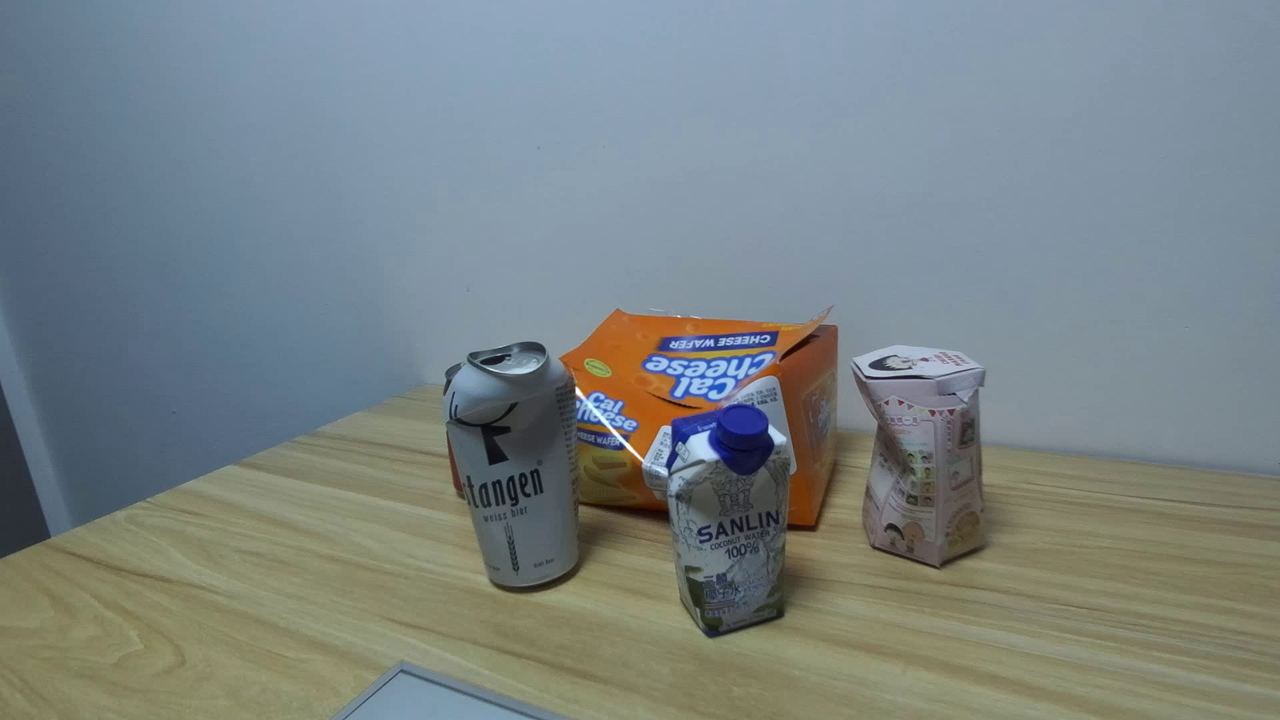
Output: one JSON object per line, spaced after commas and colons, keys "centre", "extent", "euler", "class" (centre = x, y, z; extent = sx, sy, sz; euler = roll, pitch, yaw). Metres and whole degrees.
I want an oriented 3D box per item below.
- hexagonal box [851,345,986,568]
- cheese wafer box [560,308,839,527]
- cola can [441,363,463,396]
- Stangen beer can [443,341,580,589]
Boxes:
{"centre": [0.194, 0.065, 0.497], "extent": [0.091, 0.089, 0.134], "euler": [-19, -72, -42], "class": "hexagonal box"}
{"centre": [0.047, 0.040, 0.598], "extent": [0.192, 0.218, 0.145], "euler": [-38, -53, -63], "class": "cheese wafer box"}
{"centre": [-0.111, 0.027, 0.536], "extent": [0.066, 0.116, 0.066], "euler": [9, -99, -30], "class": "cola can"}
{"centre": [-0.082, 0.072, 0.481], "extent": [0.077, 0.065, 0.162], "euler": [-41, -51, -63], "class": "Stangen beer can"}
